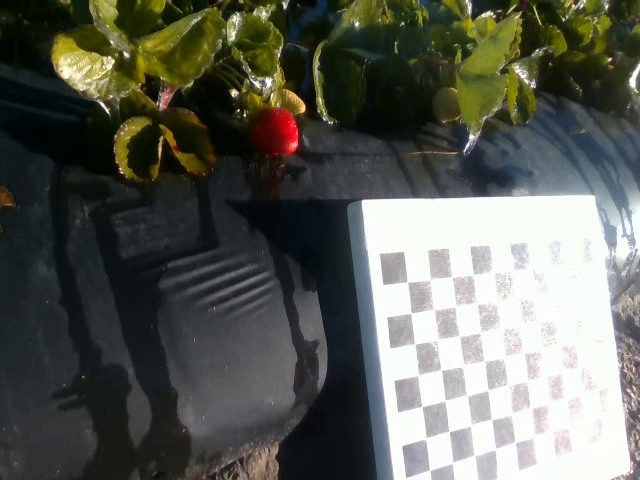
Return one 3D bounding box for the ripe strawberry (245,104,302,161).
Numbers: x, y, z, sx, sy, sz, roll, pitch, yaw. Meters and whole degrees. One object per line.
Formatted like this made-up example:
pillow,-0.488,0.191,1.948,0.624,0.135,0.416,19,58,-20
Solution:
ripe strawberry,-0.022,-0.060,0.356,0.039,0.040,0.039,-15,26,-22
